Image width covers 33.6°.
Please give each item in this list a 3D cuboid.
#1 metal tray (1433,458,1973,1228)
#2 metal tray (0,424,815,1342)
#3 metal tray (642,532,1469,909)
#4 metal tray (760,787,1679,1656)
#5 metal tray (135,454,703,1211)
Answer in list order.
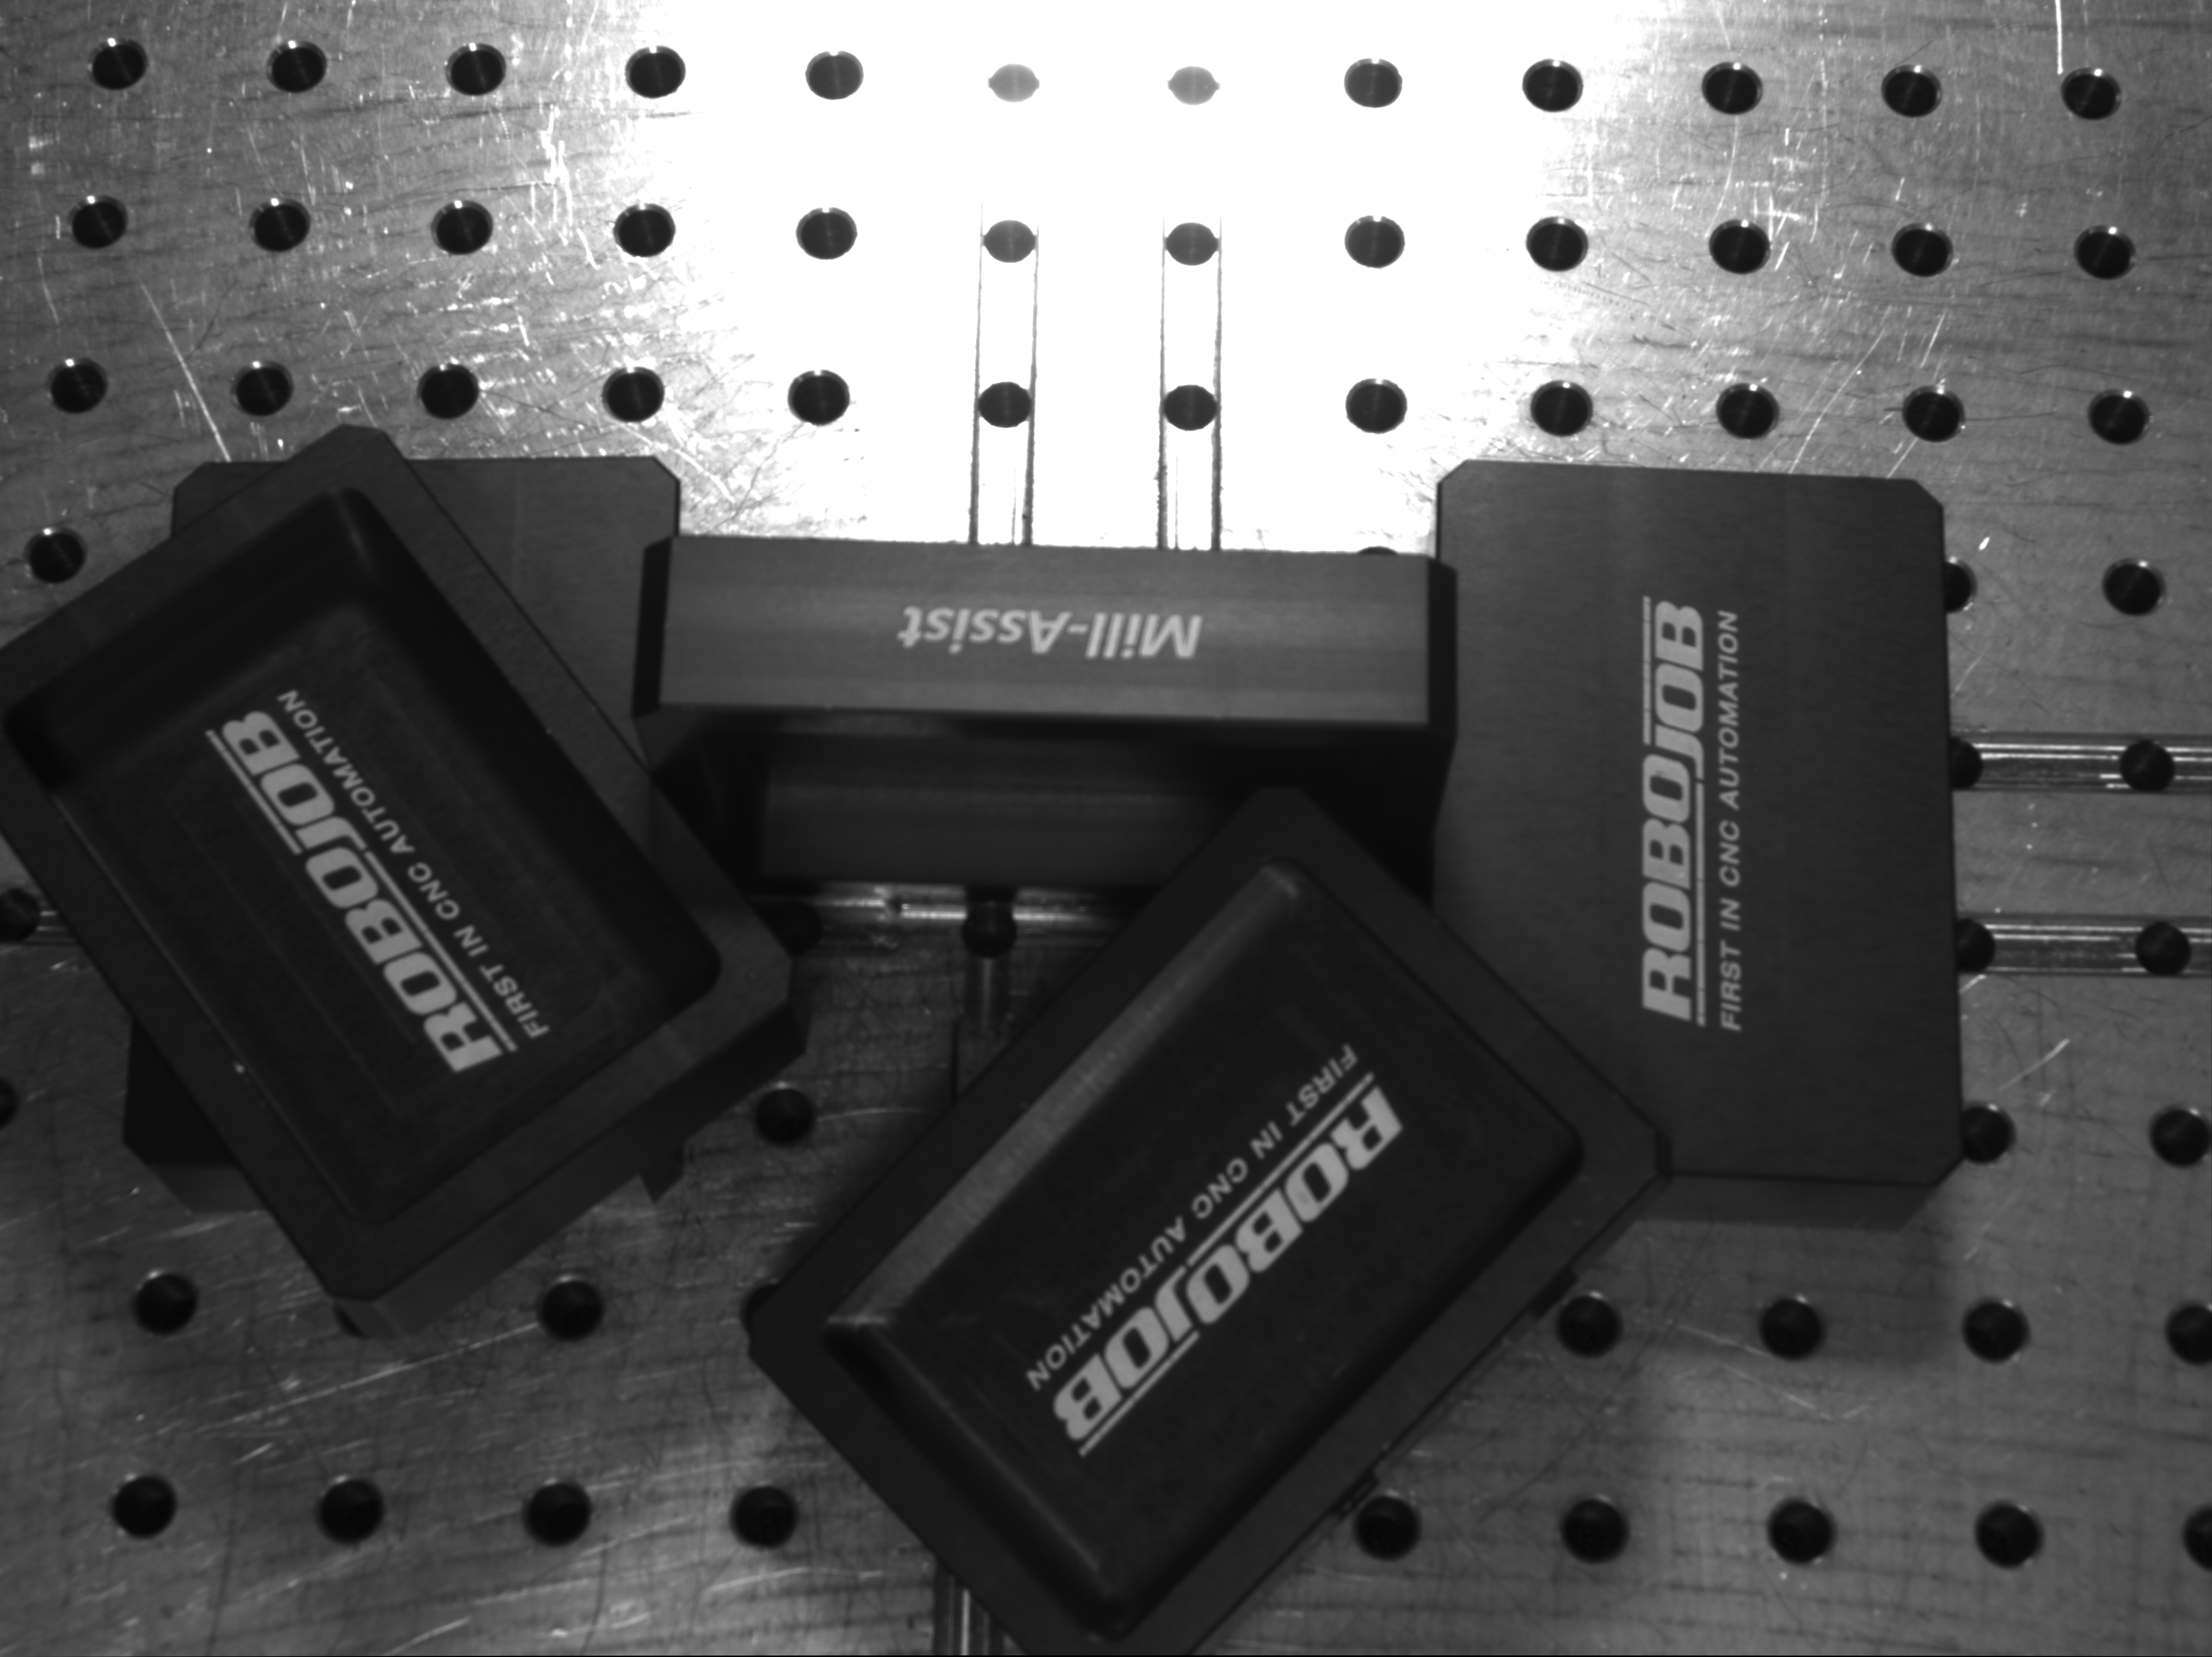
[{"bbox_3d":[0.102,0.001,0.643,0.090,0.030,0.130,3,70,1],"label":"metal tray"},{"bbox_3d":[-0.120,0.007,0.608,0.090,0.030,0.130,-36,74,-13],"label":"metal tray"},{"bbox_3d":[-0.007,-0.016,0.618,0.130,0.090,0.030,1,70,1],"label":"metal tray"},{"bbox_3d":[0.019,0.069,0.599,0.090,0.030,0.130,45,93,14],"label":"metal tray"},{"bbox_3d":[-0.118,0.000,0.645,0.090,0.030,0.130,-1,70,0],"label":"metal tray"}]
